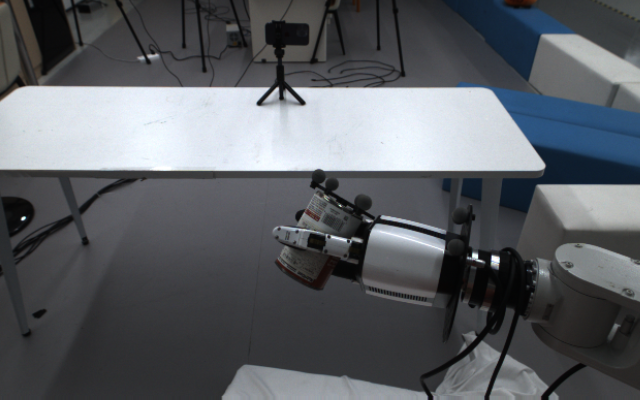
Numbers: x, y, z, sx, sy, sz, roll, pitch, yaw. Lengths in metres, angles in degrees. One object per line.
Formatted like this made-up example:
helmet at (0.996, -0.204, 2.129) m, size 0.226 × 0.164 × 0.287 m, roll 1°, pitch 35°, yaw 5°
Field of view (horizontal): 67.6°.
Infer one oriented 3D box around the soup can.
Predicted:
soup can at (0.001, 0.048, 0.584) m, size 0.067 × 0.101 × 0.067 m, roll 30°, pitch 2°, yaw -1°
